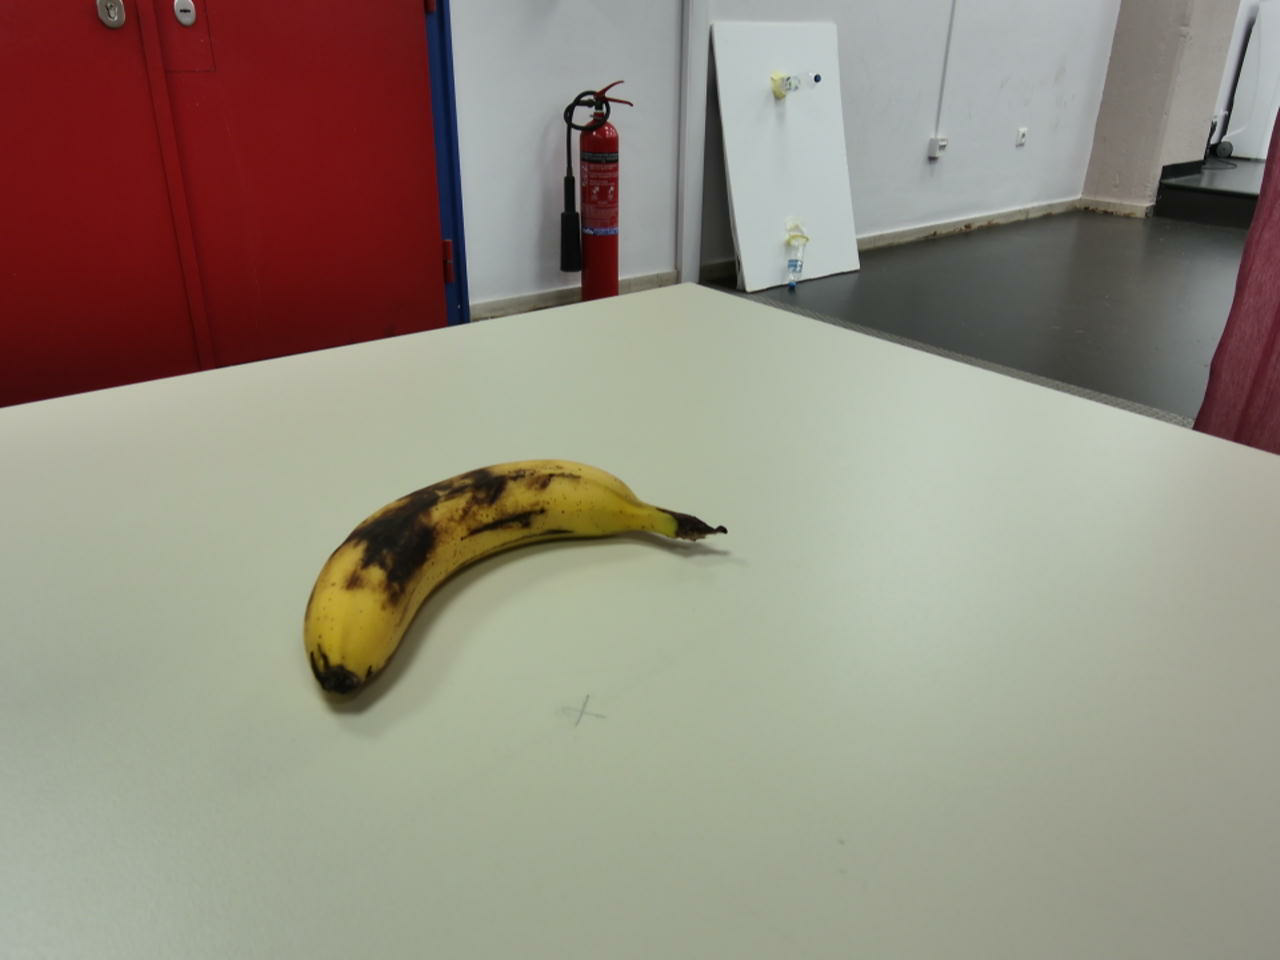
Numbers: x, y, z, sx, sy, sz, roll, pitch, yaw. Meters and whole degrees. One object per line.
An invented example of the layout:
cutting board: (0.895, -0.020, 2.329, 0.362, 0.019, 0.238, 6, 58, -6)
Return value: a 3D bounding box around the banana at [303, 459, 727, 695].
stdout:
banana: (-0.064, 0.027, 0.419, 0.187, 0.039, 0.094, -19, 30, -37)
